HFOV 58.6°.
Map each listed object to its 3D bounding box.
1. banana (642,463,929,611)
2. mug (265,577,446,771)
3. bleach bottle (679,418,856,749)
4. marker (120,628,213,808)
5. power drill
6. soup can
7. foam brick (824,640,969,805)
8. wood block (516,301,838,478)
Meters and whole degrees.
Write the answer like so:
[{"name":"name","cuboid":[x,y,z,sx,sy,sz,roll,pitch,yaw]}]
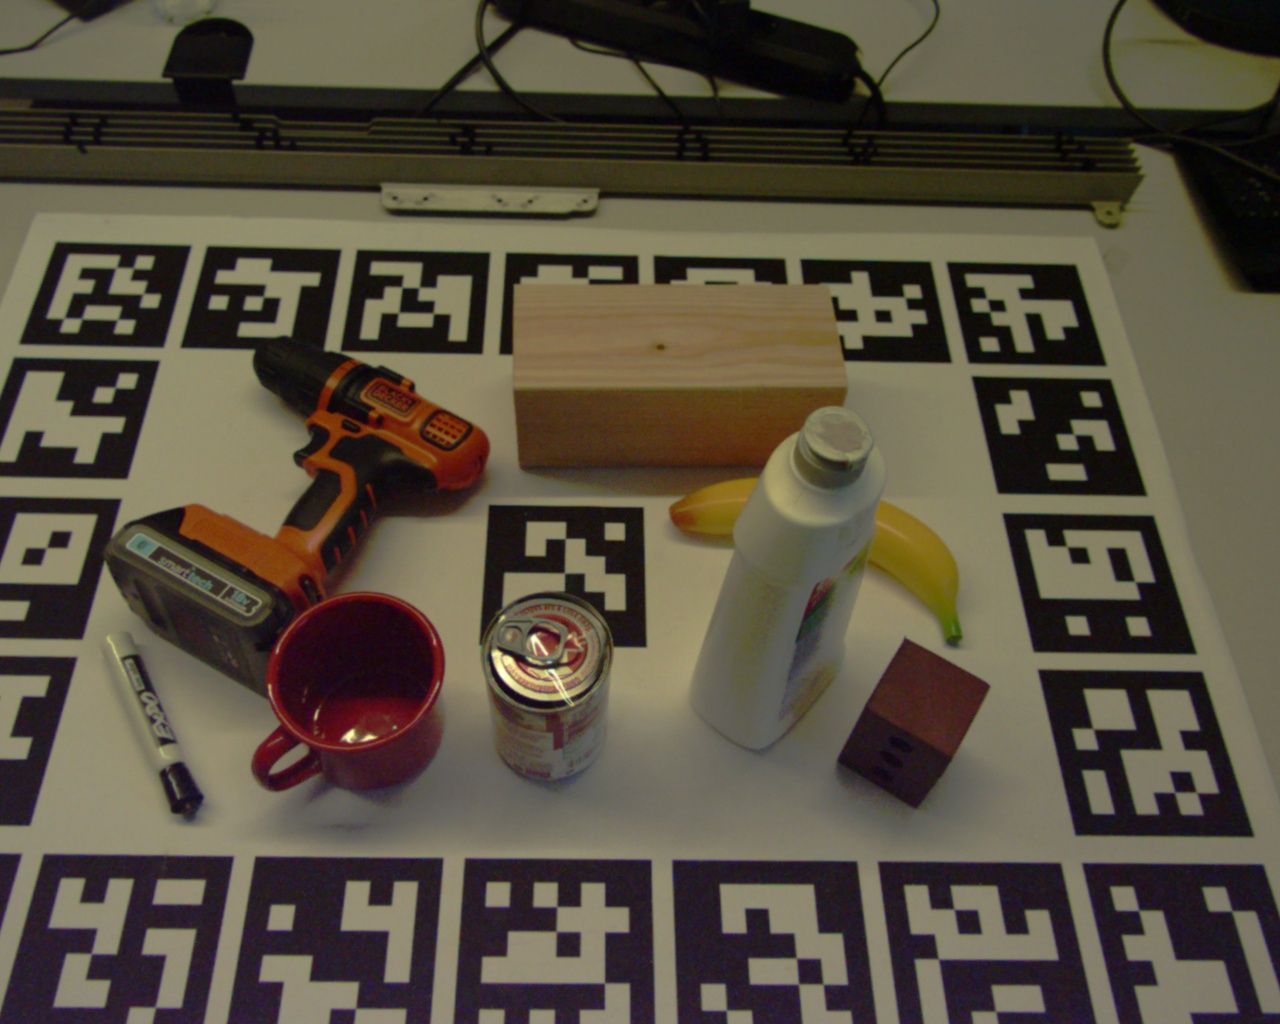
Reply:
[{"name":"banana","cuboid":[0.101,0.005,0.755,0.198,0.039,0.074,16,71,5]},{"name":"mug","cuboid":[-0.164,0.104,0.654,0.094,0.081,0.116,40,66,19]},{"name":"bleach bottle","cuboid":[0.073,0.034,0.611,0.068,0.250,0.102,26,58,14]},{"name":"marker","cuboid":[-0.282,0.122,0.678,0.019,0.019,0.122,-26,62,-16]},{"name":"power drill","cuboid":[-0.214,-0.010,0.749,0.185,0.057,0.186,27,58,11]},{"name":"soup can","cuboid":[-0.055,0.094,0.647,0.068,0.102,0.068,2,53,-4]},{"name":"foam brick","cuboid":[0.147,0.123,0.661,0.053,0.078,0.051,30,58,18]},{"name":"wood block","cuboid":[0.021,-0.084,0.784,0.206,0.091,0.090,0,58,-2]}]
